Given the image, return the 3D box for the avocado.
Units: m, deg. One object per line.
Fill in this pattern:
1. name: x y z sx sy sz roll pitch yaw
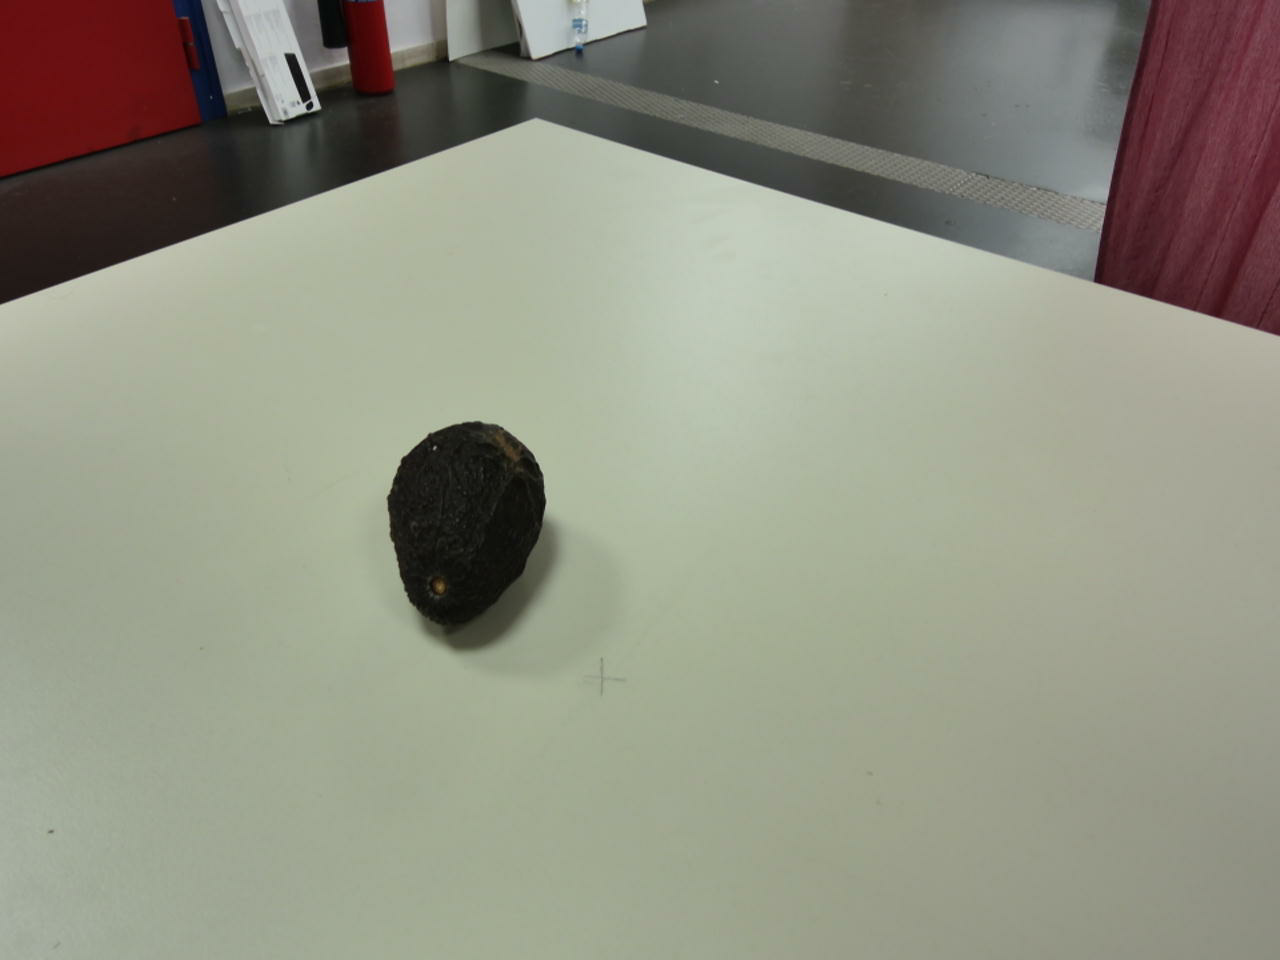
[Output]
1. avocado: -0.072 0.014 0.403 0.062 0.062 0.092 9 37 11
